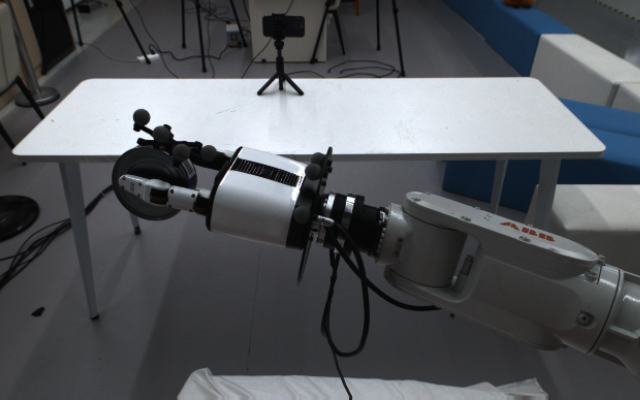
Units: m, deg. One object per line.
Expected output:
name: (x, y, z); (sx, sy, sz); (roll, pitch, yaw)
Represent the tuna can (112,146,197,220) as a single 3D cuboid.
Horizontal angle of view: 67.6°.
tuna can: (-0.182, -0.021, 0.542); (0.085, 0.085, 0.034); (4, 20, 3)
